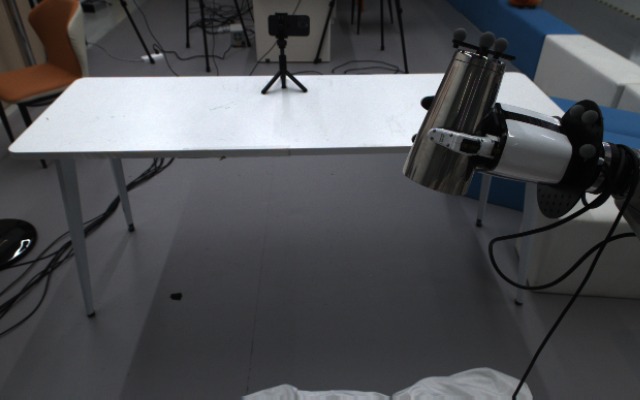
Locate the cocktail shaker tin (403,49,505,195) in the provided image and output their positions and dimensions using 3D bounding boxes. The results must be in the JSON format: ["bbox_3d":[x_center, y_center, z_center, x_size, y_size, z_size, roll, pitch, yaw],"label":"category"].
[{"bbox_3d":[0.180,-0.104,0.636,0.093,0.170,0.093,15,19,-5],"label":"cocktail shaker tin"}]
